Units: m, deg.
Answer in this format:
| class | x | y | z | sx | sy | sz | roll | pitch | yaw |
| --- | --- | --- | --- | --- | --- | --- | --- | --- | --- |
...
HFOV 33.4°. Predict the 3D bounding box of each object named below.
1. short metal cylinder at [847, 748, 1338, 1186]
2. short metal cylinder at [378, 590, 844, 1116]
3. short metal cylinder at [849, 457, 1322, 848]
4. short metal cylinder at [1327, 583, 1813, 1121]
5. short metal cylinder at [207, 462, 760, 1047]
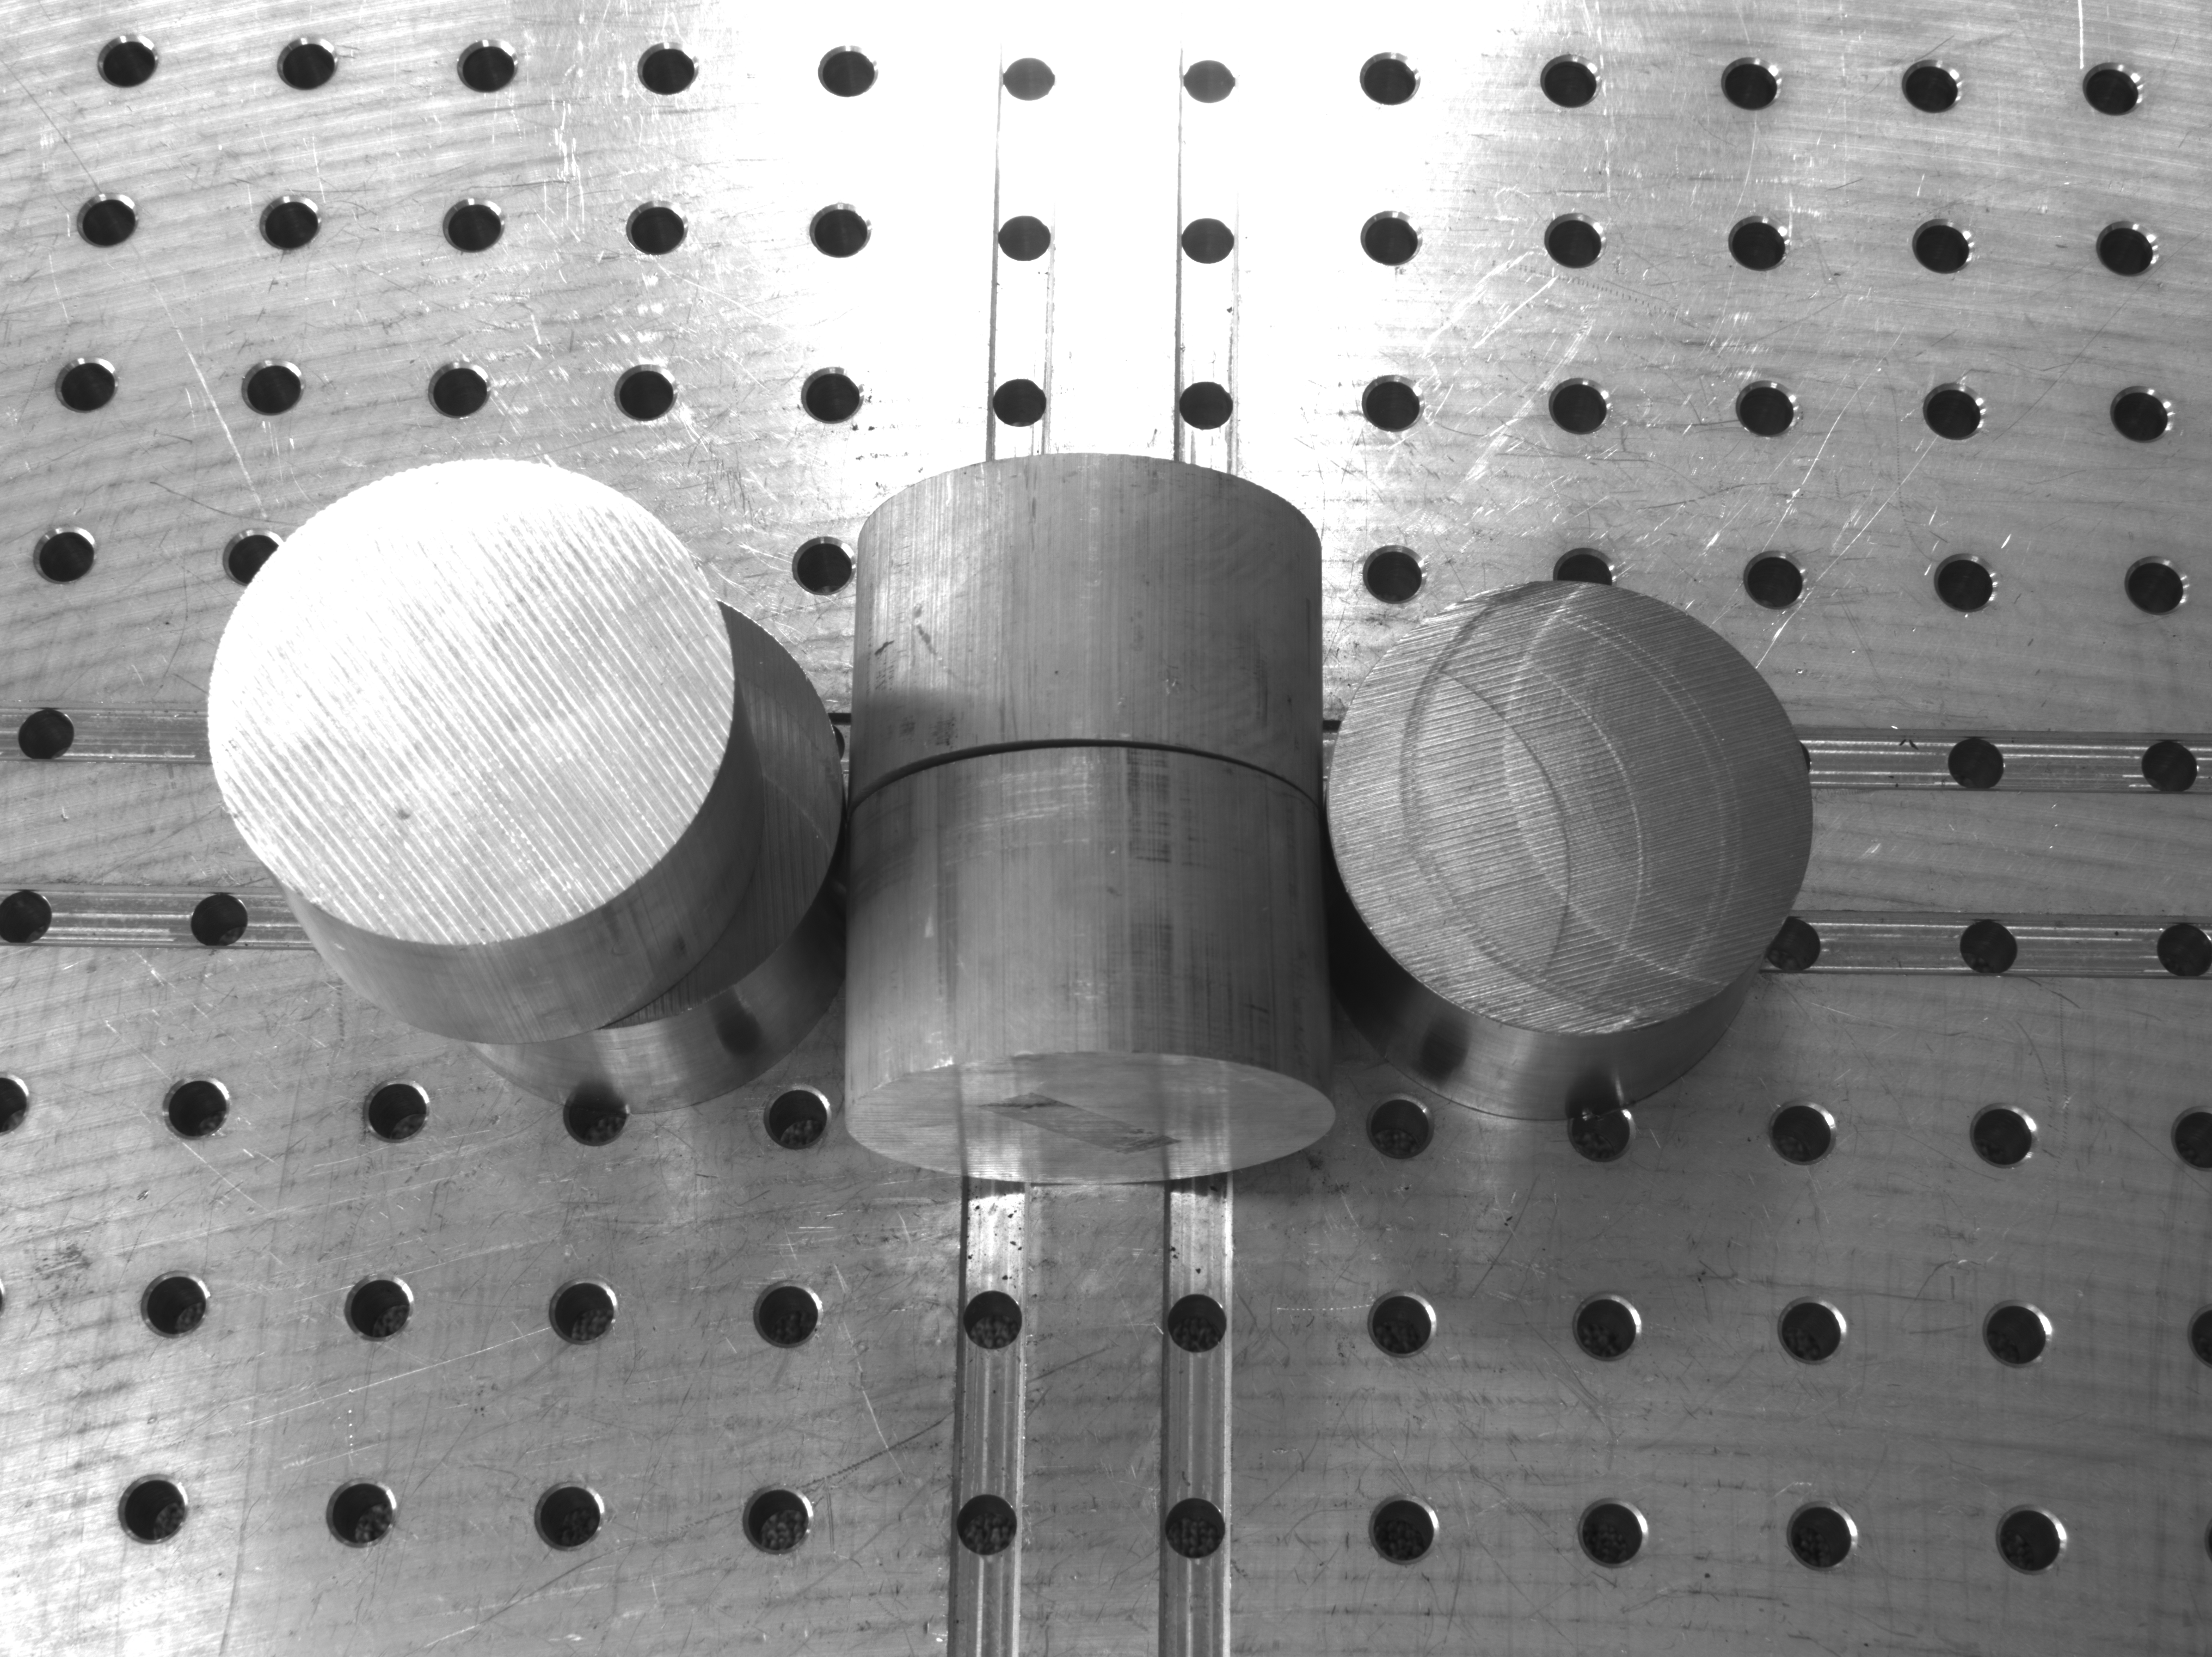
| class | x | y | z | sx | sy | sz | roll | pitch | yaw |
| --- | --- | --- | --- | --- | --- | --- | --- | --- | --- |
| short metal cylinder | -0.003 | 0.025 | 0.609 | 0.080 | 0.080 | 0.050 | -1 | 70 | 0 |
| short metal cylinder | -0.083 | 0.004 | 0.633 | 0.080 | 0.050 | 0.080 | 0 | 70 | 0 |
| short metal cylinder | -0.003 | -0.023 | 0.628 | 0.080 | 0.080 | 0.050 | 1 | 71 | 0 |
| short metal cylinder | 0.077 | 0.005 | 0.632 | 0.080 | 0.050 | 0.080 | 0 | 70 | 0 |
| short metal cylinder | -0.096 | -0.011 | 0.584 | 0.080 | 0.050 | 0.080 | 0 | 70 | 0 |
